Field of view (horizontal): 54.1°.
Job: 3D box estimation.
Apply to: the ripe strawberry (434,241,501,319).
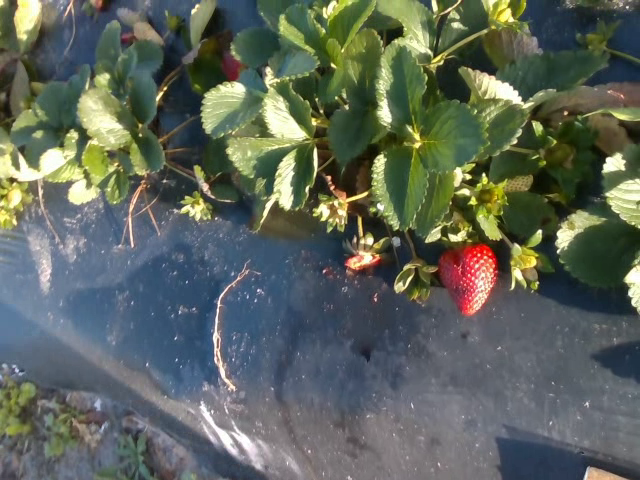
[{"bbox_3d":[0.110,0.033,0.456,0.052,0.051,0.041,-17,-41,38],"label":"ripe strawberry"}]
